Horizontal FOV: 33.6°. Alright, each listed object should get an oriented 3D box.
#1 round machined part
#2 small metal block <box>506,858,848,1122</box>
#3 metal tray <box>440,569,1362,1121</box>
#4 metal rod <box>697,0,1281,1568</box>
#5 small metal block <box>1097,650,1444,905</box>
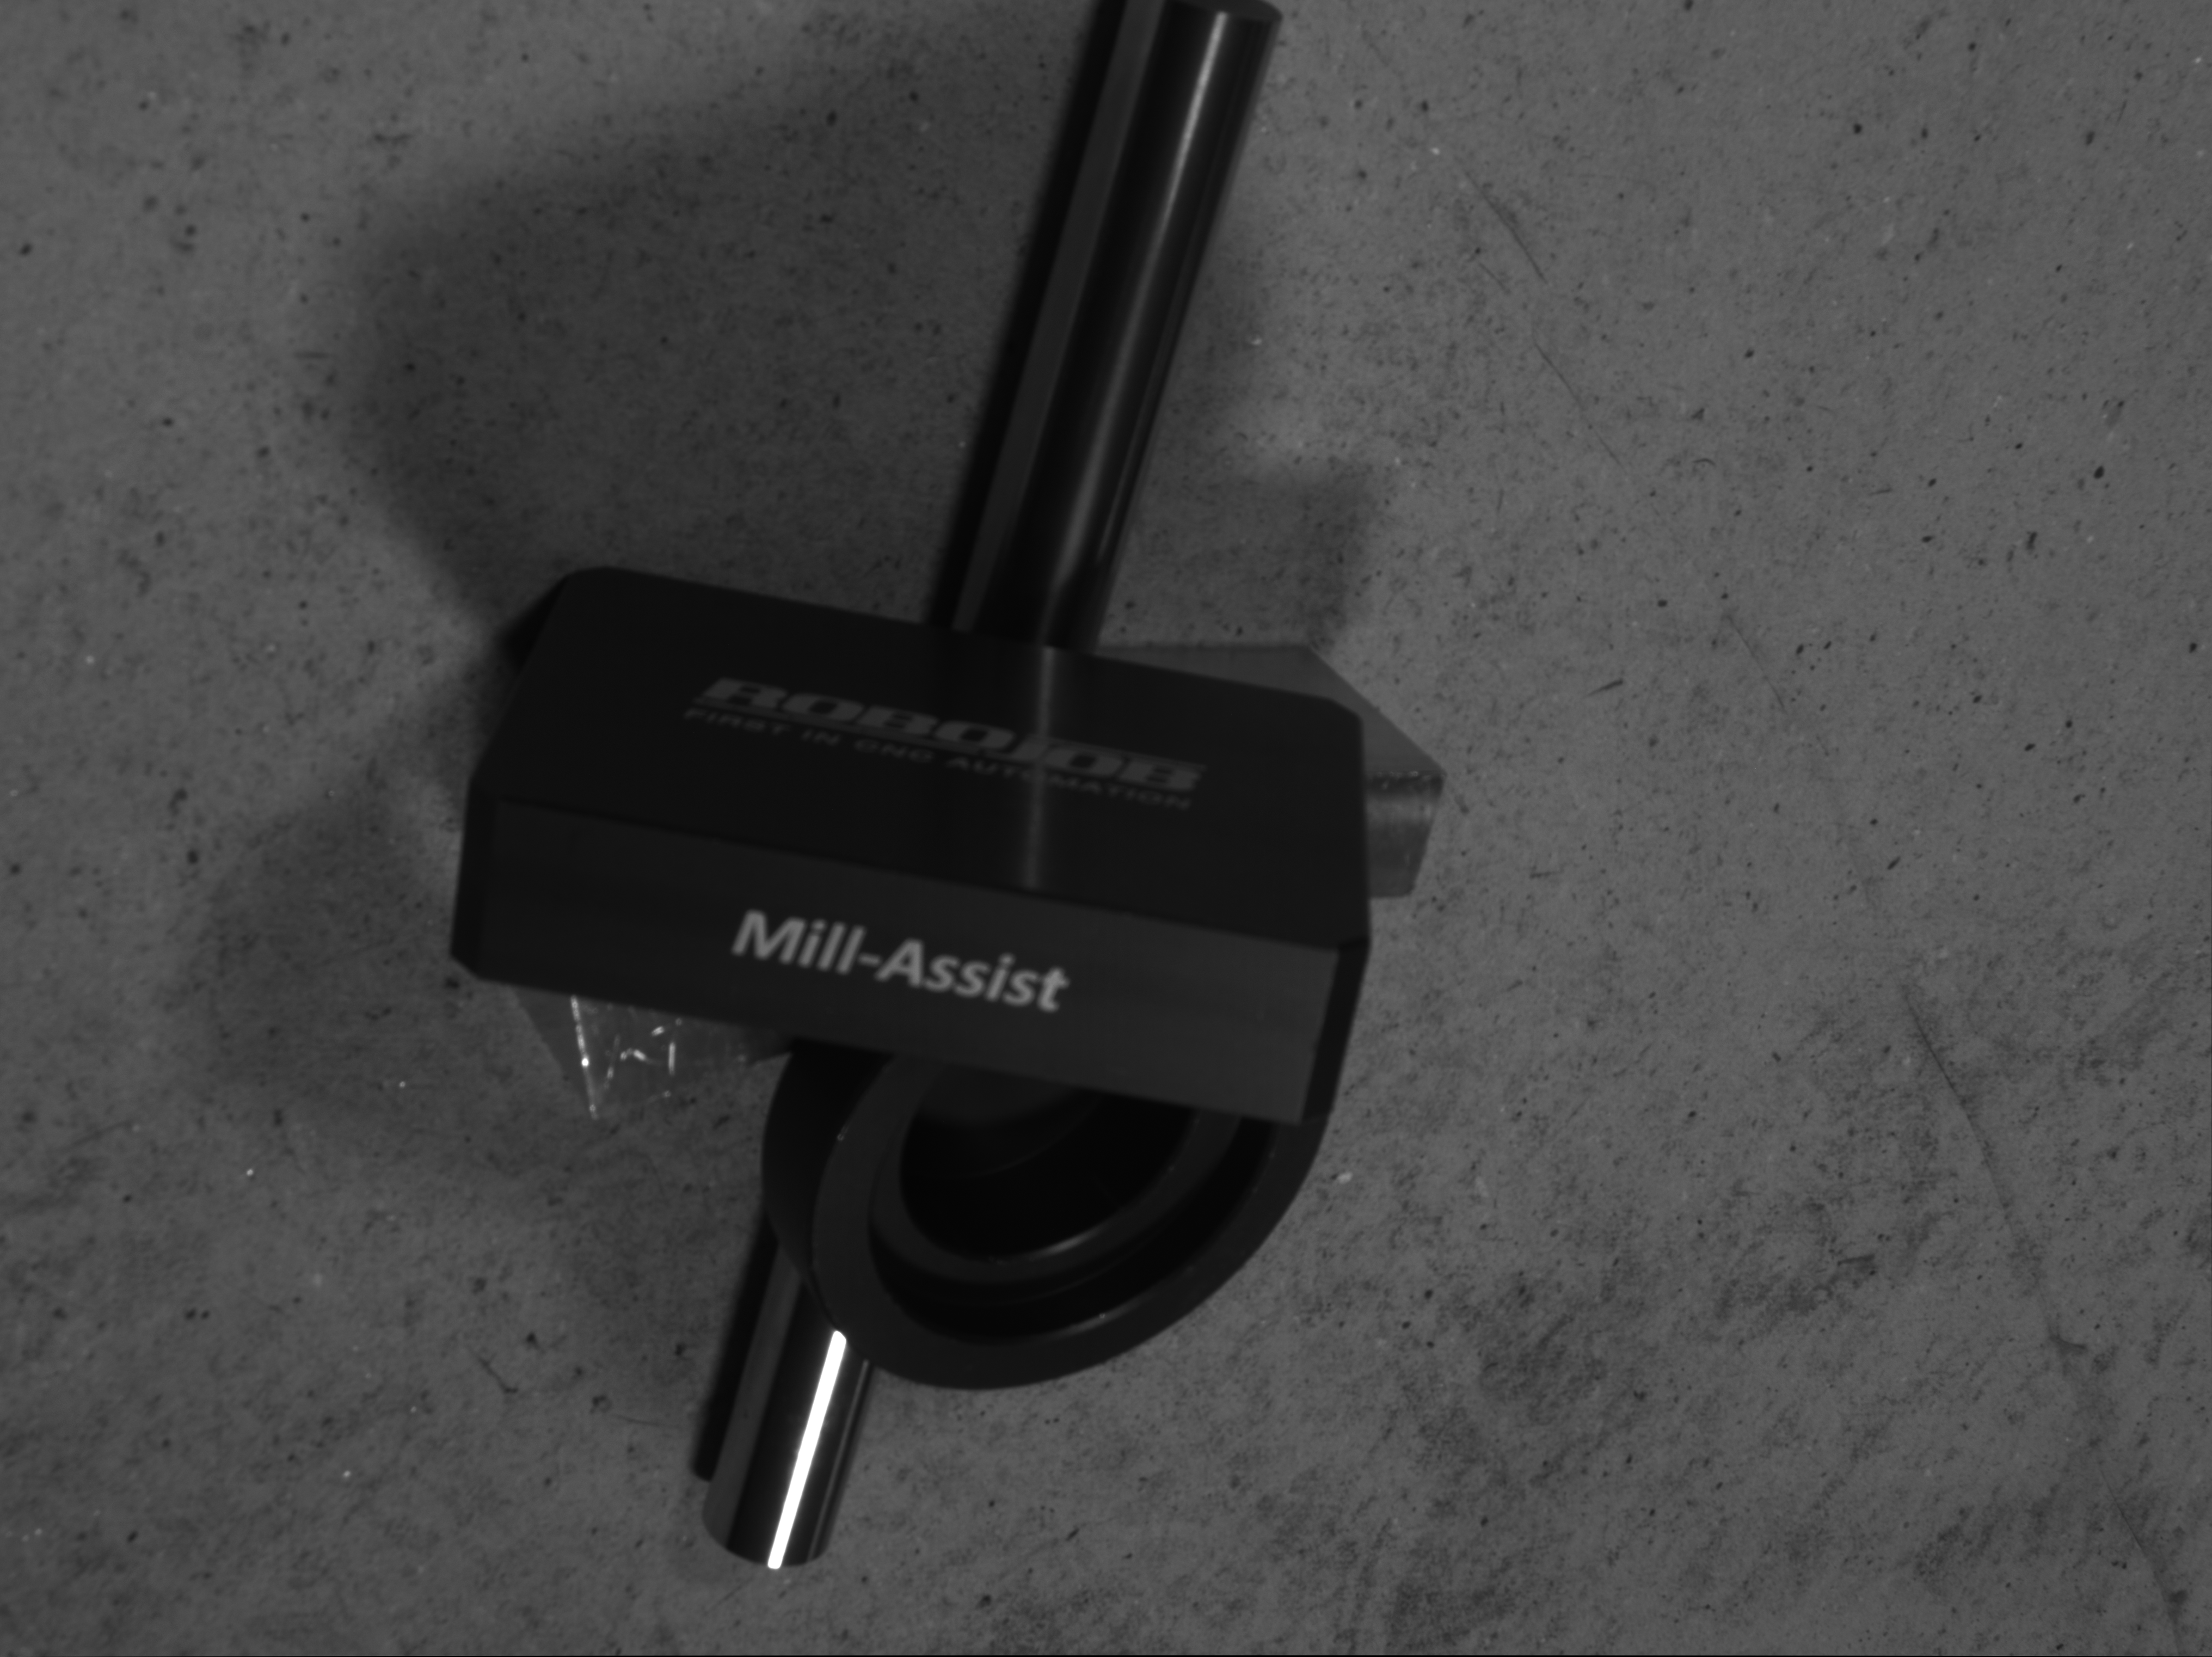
[{"bbox_3d":[-0.014,0.045,0.623,0.098,0.042,0.098,-17,129,-22],"label":"round machined part"},{"bbox_3d":[-0.072,0.017,0.603,0.050,0.050,0.025,-18,126,-20],"label":"small metal block"},{"bbox_3d":[-0.028,0.000,0.562,0.130,0.090,0.030,10,115,-2],"label":"metal tray"},{"bbox_3d":[-0.025,0.000,0.637,0.025,0.025,0.300,2,117,-31],"label":"metal rod"},{"bbox_3d":[0.023,-0.009,0.642,0.050,0.050,0.025,-1,119,-30],"label":"small metal block"}]
